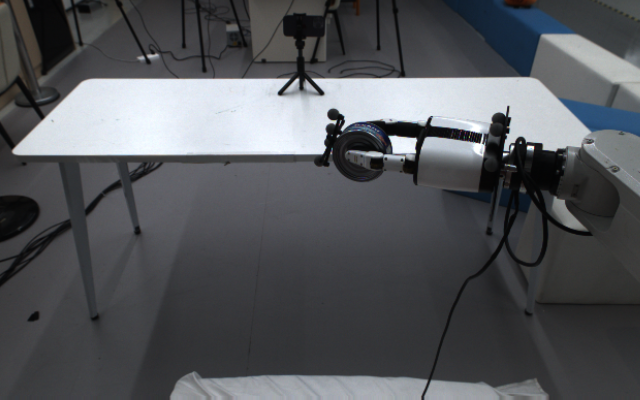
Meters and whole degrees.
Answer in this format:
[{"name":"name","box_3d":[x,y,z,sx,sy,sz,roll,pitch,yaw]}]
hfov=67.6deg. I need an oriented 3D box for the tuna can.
[{"name":"tuna can","box_3d":[0.064,-0.071,0.722,0.085,0.085,0.034,12,30,14]}]
